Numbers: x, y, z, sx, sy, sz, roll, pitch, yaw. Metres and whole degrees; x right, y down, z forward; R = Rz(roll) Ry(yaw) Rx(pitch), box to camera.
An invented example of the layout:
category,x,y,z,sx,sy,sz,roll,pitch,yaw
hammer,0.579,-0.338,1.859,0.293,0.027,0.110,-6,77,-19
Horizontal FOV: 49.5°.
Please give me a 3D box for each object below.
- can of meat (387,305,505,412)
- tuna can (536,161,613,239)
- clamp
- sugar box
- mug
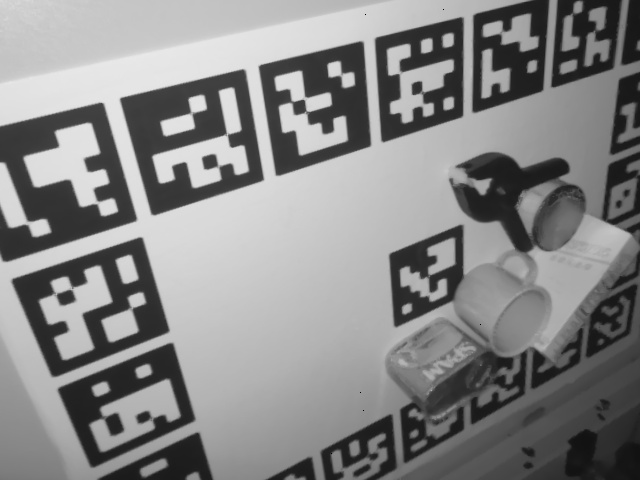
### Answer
category,x,y,z,sx,sy,sz,roll,pitch,yaw
can of meat,0.135,0.125,0.757,0.103,0.083,0.057,-25,123,-15
tuna can,0.289,-0.047,0.787,0.087,0.033,0.085,-11,114,-24
clamp,0.210,-0.075,0.739,0.167,0.036,0.121,19,105,-29
sugar box,0.306,0.039,0.807,0.176,0.092,0.045,-50,127,1
mug,0.222,0.054,0.764,0.094,0.081,0.116,8,106,-30
